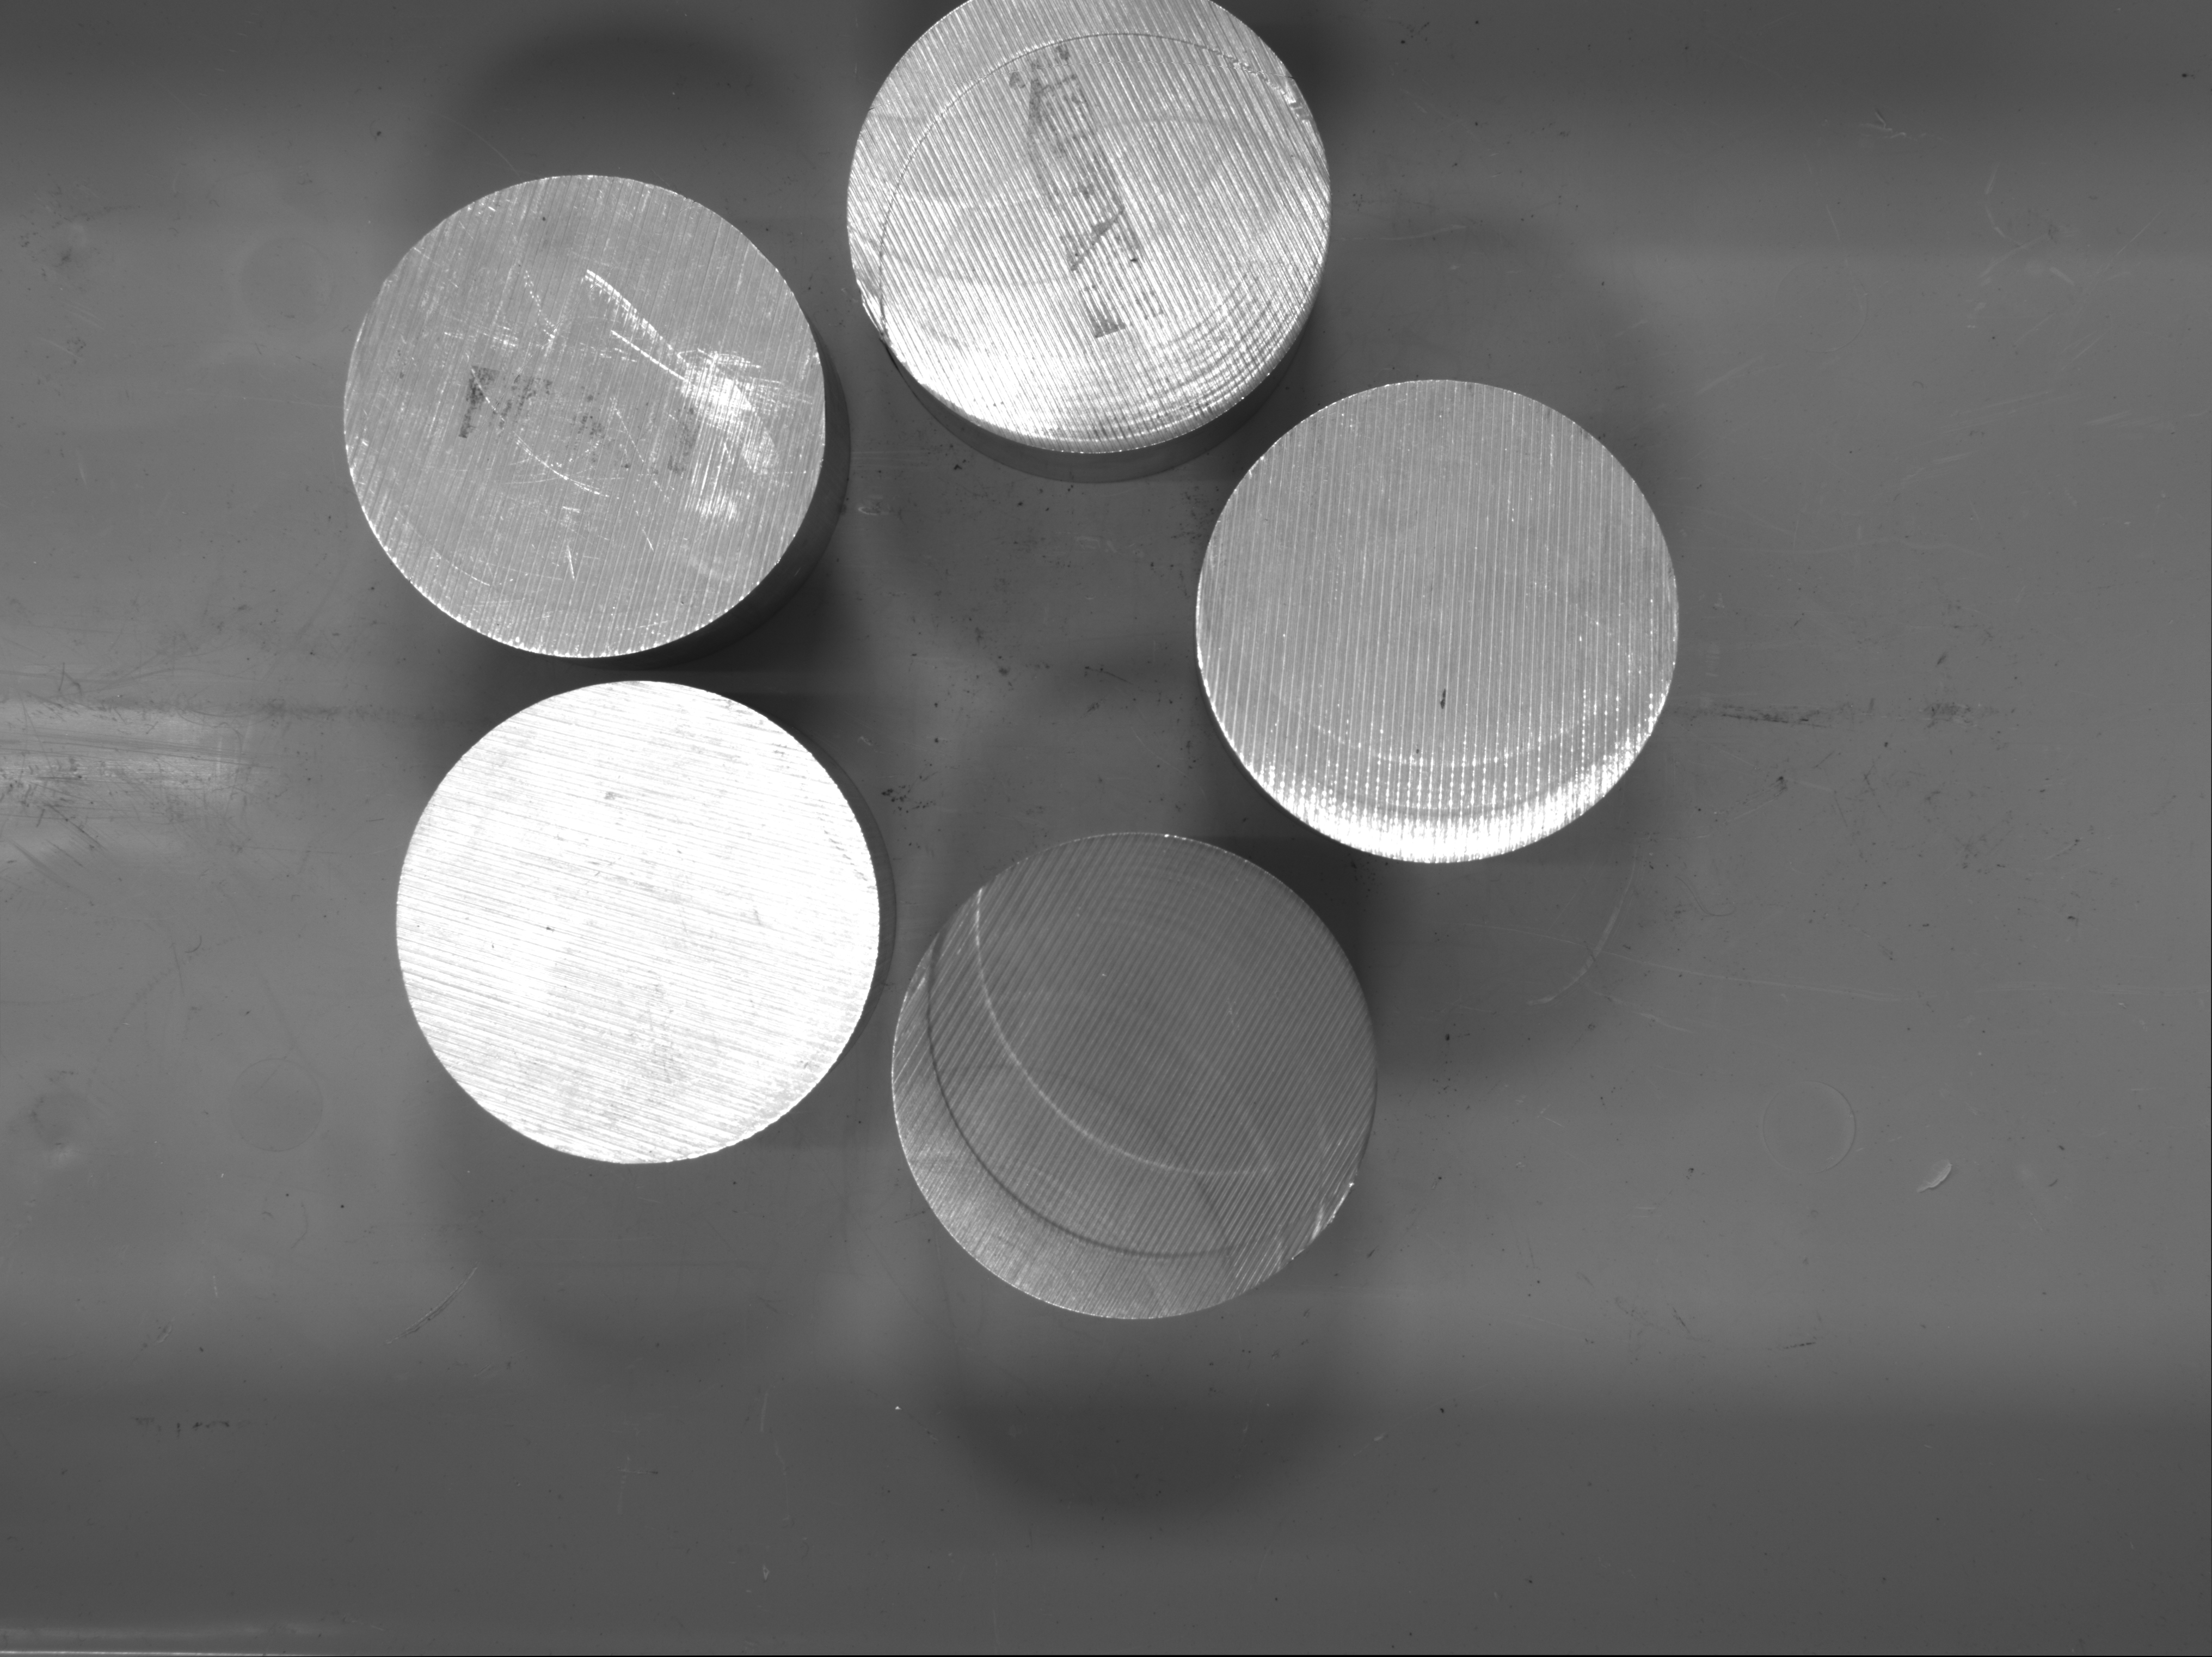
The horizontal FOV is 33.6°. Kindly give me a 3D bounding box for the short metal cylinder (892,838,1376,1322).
[{"bbox_3d":[0.005,0.042,0.631,0.080,0.050,0.080,0,90,0],"label":"short metal cylinder"}]

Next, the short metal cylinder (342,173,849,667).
[{"bbox_3d":[-0.086,-0.068,0.631,0.080,0.050,0.080,0,90,0],"label":"short metal cylinder"}]

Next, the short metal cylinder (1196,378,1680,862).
[{"bbox_3d":[0.055,-0.034,0.631,0.080,0.050,0.080,0,90,0],"label":"short metal cylinder"}]

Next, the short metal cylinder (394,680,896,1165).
[{"bbox_3d":[-0.078,0.016,0.631,0.080,0.050,0.080,0,90,0],"label":"short metal cylinder"}]

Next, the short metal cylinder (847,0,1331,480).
[{"bbox_3d":[-0.003,-0.102,0.631,0.080,0.050,0.080,0,90,0],"label":"short metal cylinder"}]
